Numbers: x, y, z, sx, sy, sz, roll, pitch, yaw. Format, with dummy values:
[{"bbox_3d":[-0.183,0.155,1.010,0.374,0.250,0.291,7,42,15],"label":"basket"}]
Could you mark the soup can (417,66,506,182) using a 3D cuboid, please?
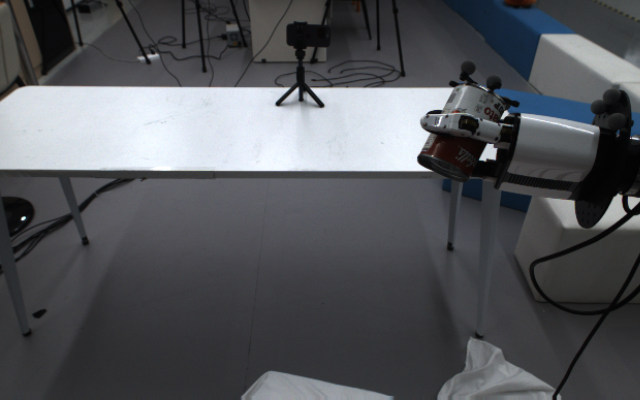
[{"bbox_3d":[0.173,-0.083,0.588,0.067,0.101,0.067,29,-2,1],"label":"soup can"}]
